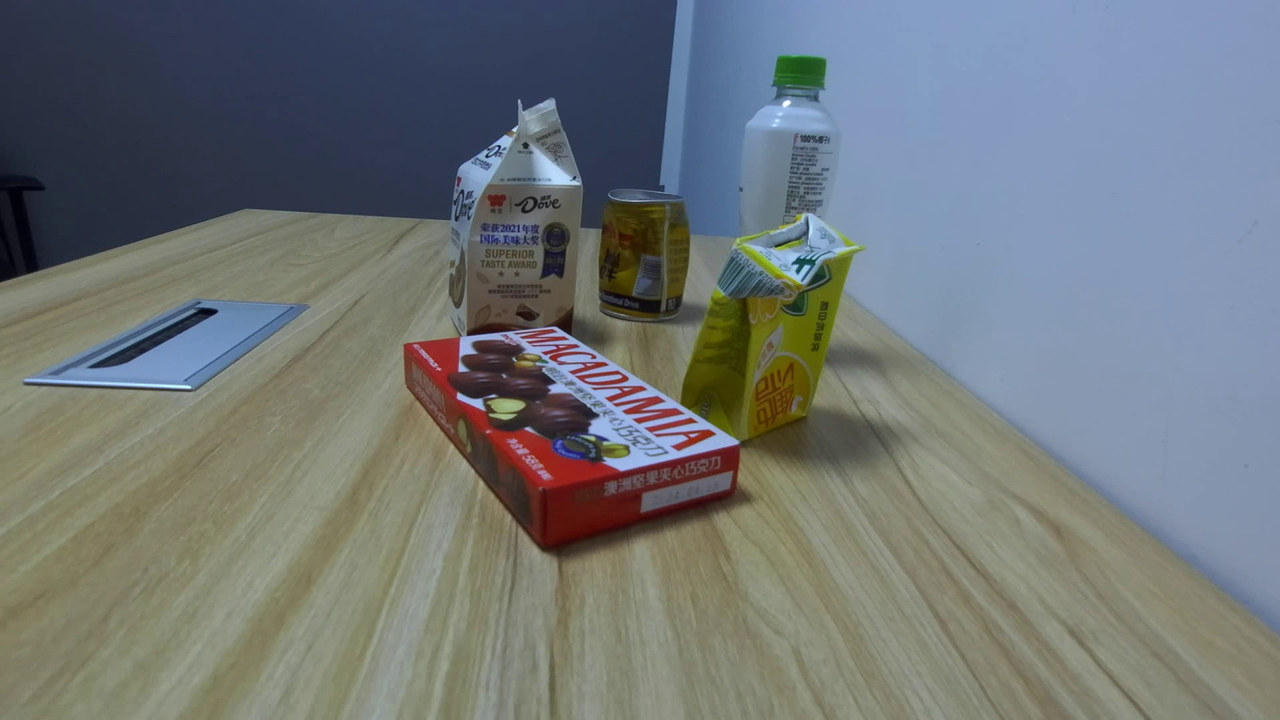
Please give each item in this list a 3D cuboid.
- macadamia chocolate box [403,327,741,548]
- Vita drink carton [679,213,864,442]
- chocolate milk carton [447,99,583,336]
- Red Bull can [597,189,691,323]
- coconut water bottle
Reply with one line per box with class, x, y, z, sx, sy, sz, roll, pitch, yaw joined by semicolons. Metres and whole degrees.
macadamia chocolate box;-0.044;0.025;0.350;0.096;0.027;0.177;-9;25;-33
Vita drink carton;0.067;-0.013;0.354;0.087;0.108;0.042;-17;42;-39
chocolate milk carton;-0.084;-0.094;0.473;0.074;0.155;0.076;-3;21;-22
Red Bull can;0.002;-0.082;0.547;0.072;0.092;0.072;3;22;-1
coconut water bottle;0.092;-0.094;0.456;0.063;0.188;0.063;5;18;-1
